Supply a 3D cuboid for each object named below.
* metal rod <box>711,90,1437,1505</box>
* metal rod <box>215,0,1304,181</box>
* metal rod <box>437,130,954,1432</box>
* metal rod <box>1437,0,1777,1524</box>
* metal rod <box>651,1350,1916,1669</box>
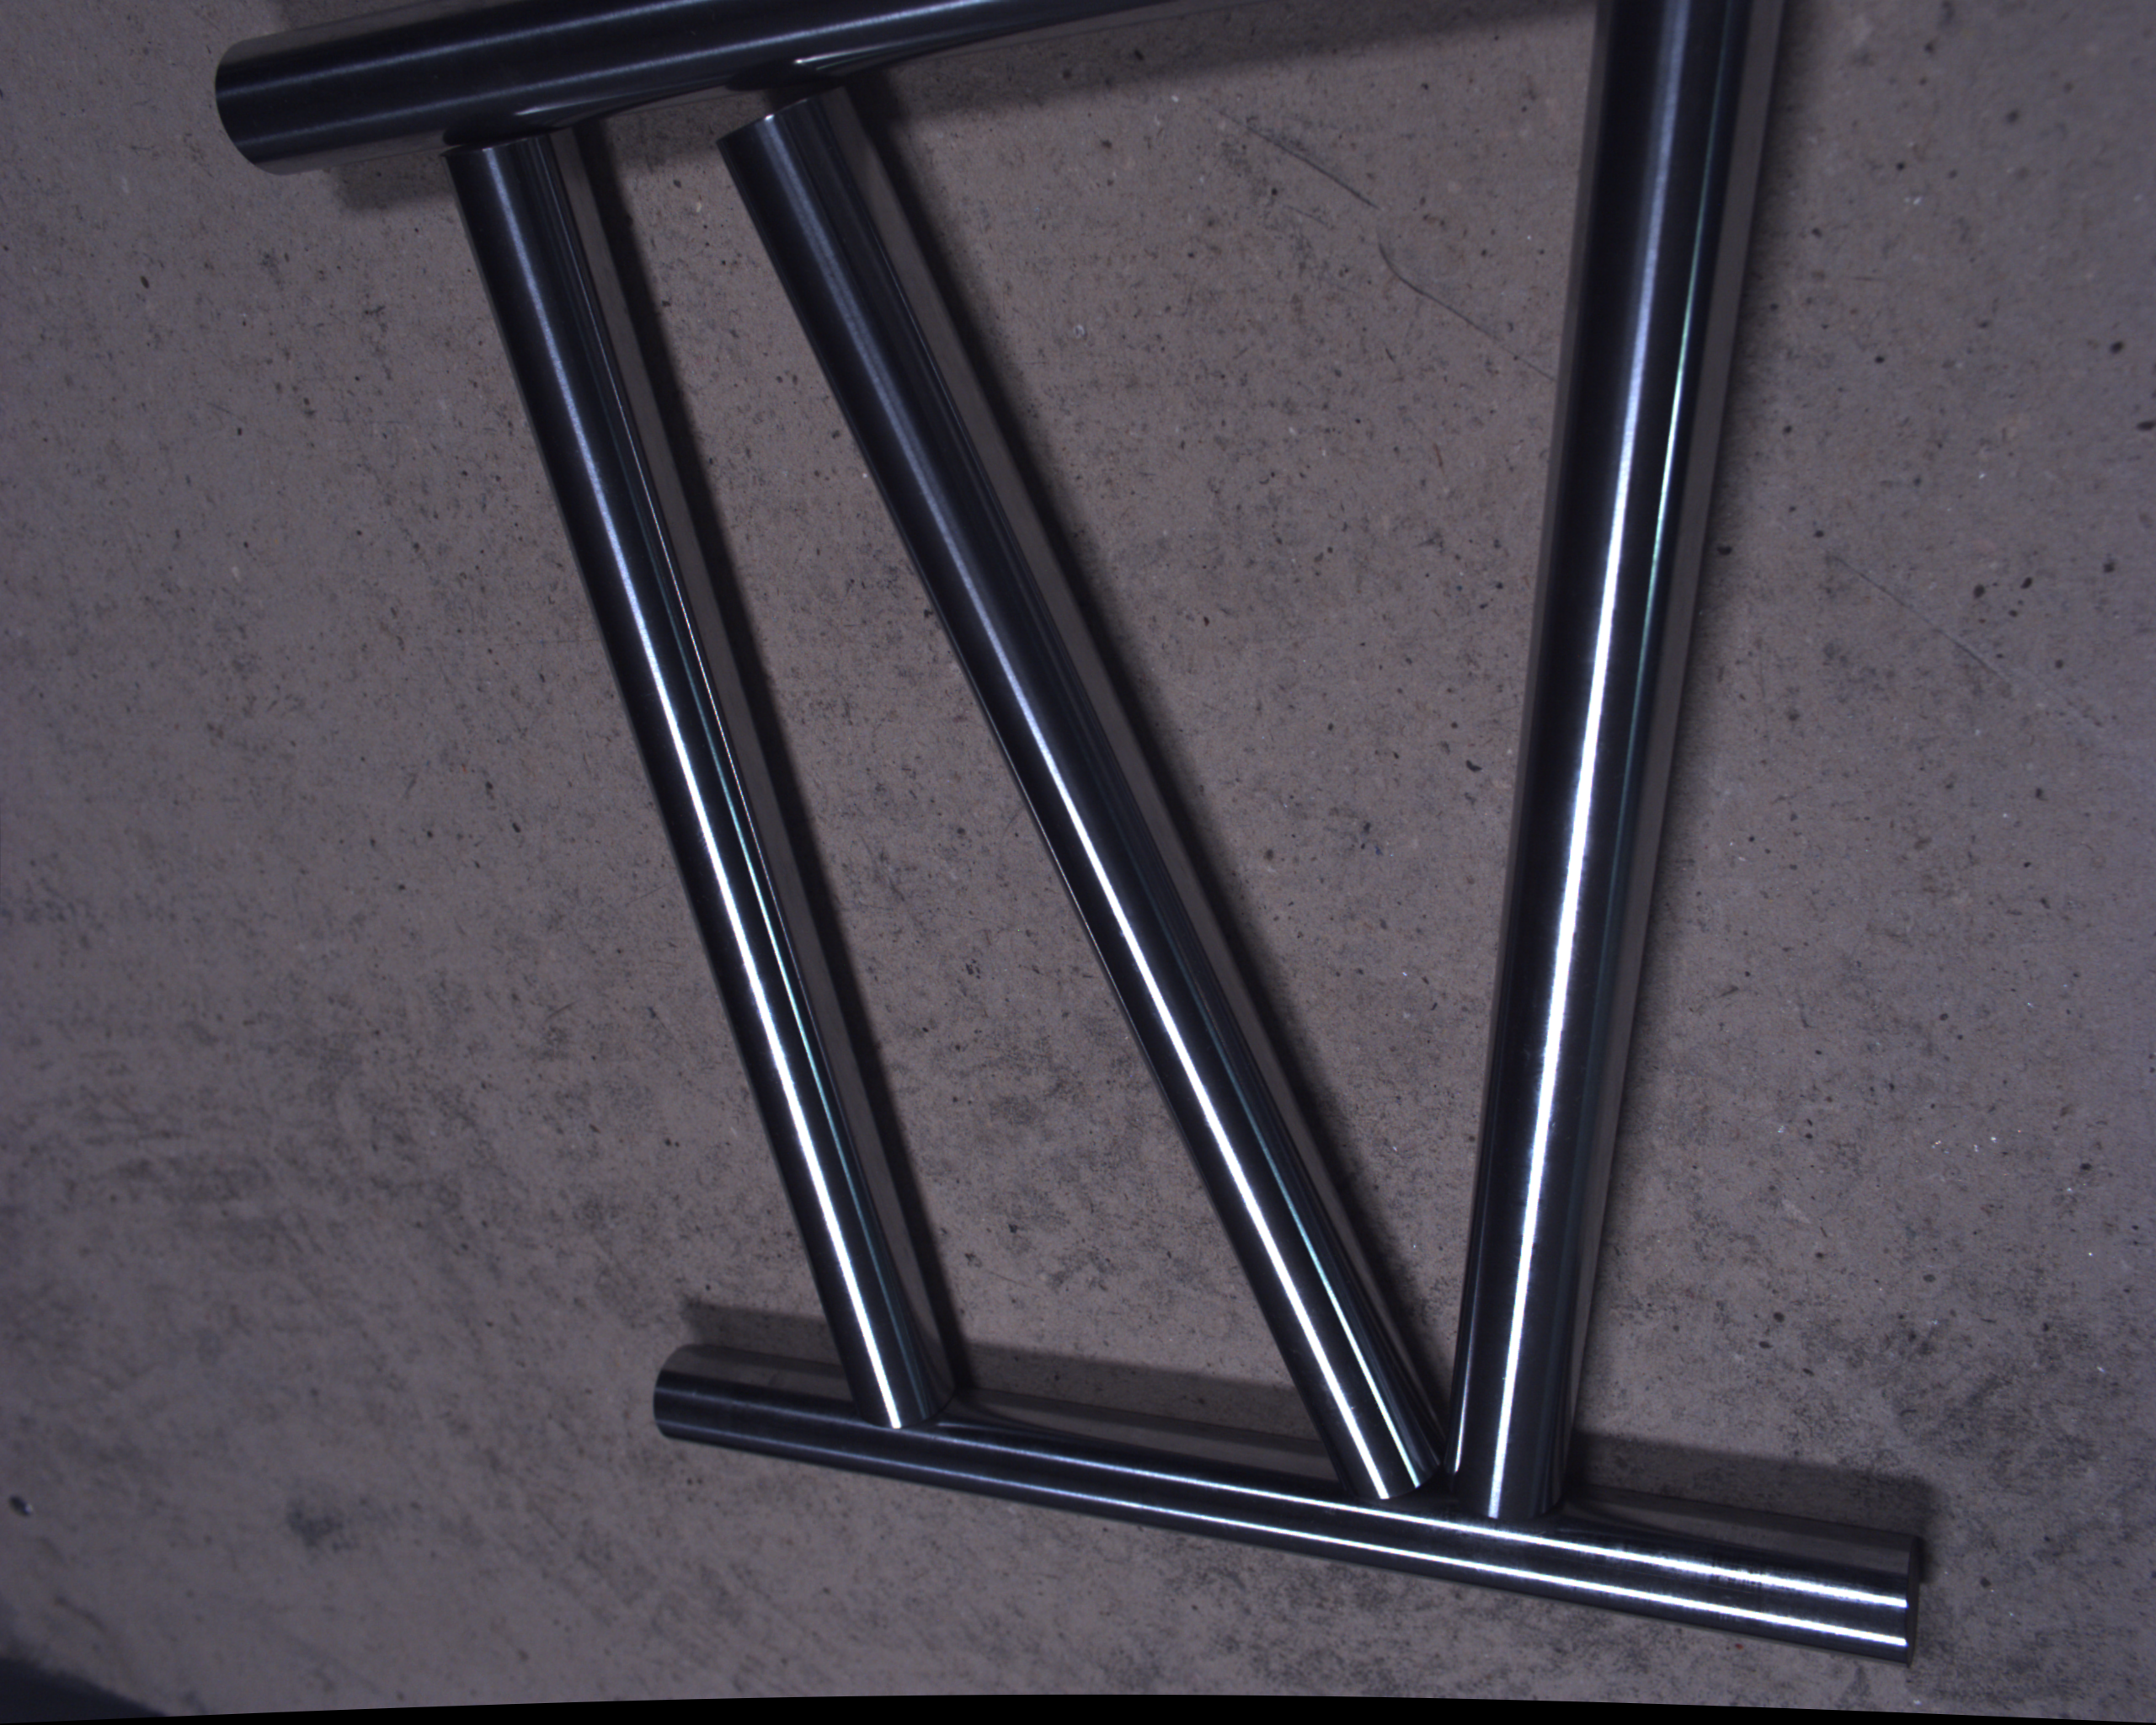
[{"bbox_3d":[0.008,0.001,0.403,0.025,0.025,0.299,-12,113,33],"label":"metal rod"},{"bbox_3d":[-0.021,-0.140,0.331,0.301,0.025,0.025,1,119,27],"label":"metal rod"},{"bbox_3d":[-0.073,-0.001,0.443,0.025,0.025,0.298,1,119,27],"label":"metal rod"},{"bbox_3d":[0.086,0.002,0.362,0.025,0.025,0.298,12,124,21],"label":"metal rod"},{"bbox_3d":[0.030,0.143,0.478,0.301,0.025,0.025,1,119,27],"label":"metal rod"}]
